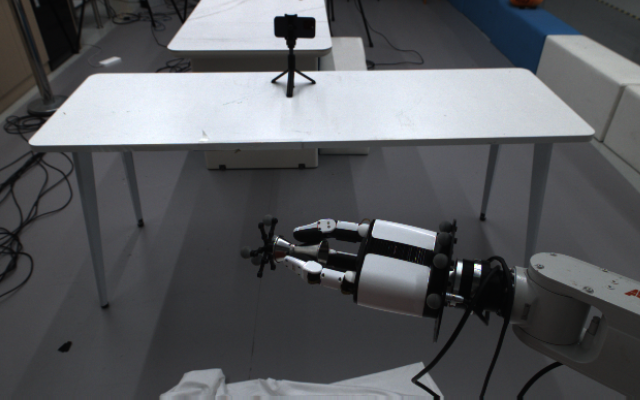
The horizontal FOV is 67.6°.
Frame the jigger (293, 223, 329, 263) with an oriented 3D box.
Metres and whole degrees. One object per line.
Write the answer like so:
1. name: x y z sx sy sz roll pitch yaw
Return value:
1. jigger: -0.019 0.065 0.668 0.071 0.043 0.043 4 34 20
